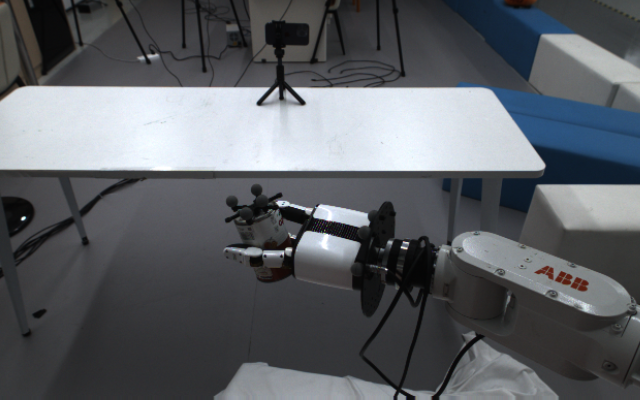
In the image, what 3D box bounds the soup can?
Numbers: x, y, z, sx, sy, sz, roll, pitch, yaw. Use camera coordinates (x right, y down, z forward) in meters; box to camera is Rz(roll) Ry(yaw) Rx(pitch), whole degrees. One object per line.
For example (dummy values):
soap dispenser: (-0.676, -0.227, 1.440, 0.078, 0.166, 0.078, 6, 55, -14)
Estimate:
soup can: (-0.076, 0.061, 0.703, 0.067, 0.101, 0.067, -16, 23, 7)
